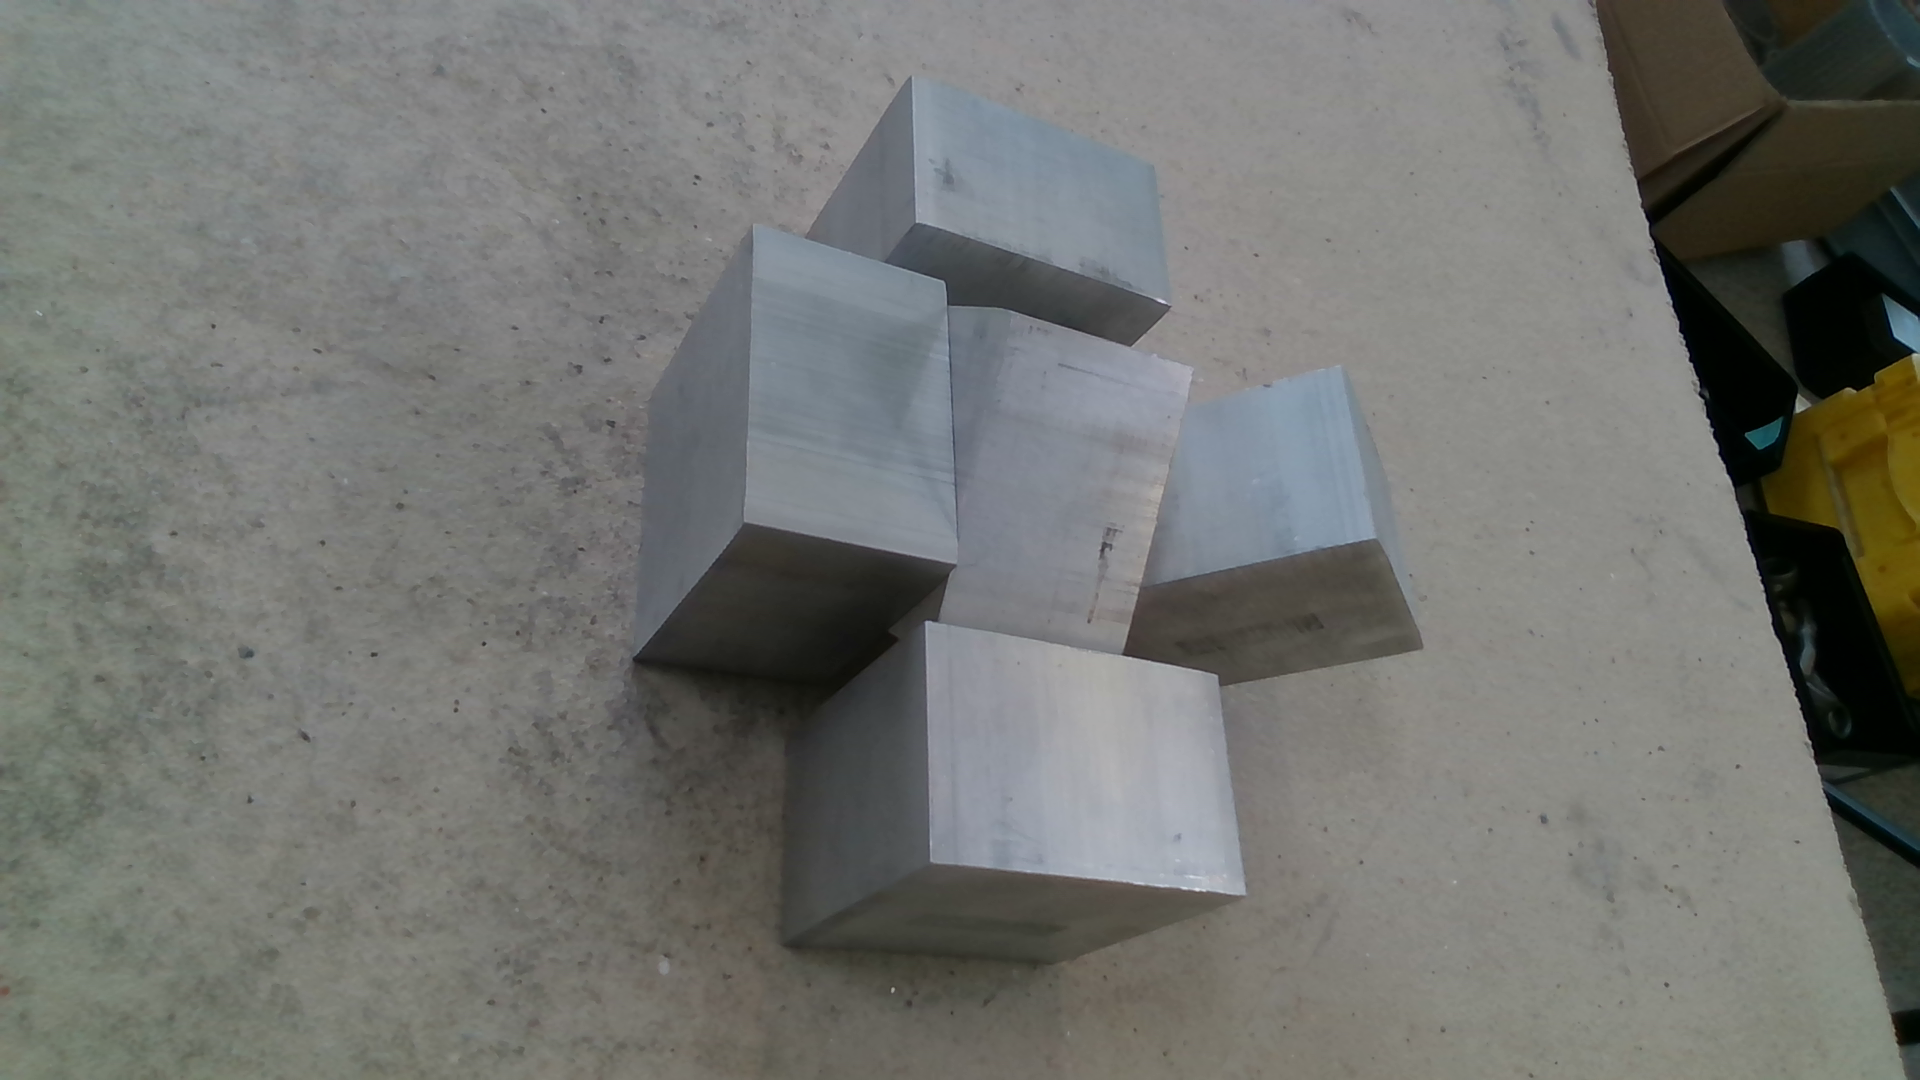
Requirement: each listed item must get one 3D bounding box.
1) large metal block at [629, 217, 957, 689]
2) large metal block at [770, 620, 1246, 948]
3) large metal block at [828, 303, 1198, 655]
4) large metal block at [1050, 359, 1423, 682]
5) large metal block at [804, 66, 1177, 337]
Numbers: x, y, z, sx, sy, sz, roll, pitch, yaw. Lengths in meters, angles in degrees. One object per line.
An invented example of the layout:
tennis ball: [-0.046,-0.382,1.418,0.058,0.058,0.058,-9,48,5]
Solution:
large metal block: [-0.043,-0.017,0.341,0.050,0.080,0.080,12,60,-26]
large metal block: [0.008,0.063,0.329,0.080,0.080,0.050,13,60,-27]
large metal block: [0.008,-0.015,0.352,0.050,0.080,0.080,12,95,-27]
large metal block: [0.079,0.001,0.386,0.080,0.080,0.050,44,37,-55]
large metal block: [0.004,-0.079,0.401,0.080,0.080,0.050,13,60,-26]
